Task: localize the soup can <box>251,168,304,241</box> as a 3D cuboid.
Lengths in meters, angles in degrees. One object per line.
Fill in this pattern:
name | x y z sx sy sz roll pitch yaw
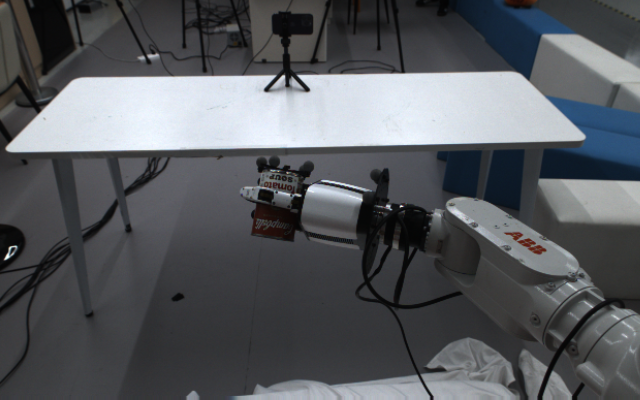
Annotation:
soup can | -0.065 0.010 0.741 0.067 0.101 0.067 9 -6 1
